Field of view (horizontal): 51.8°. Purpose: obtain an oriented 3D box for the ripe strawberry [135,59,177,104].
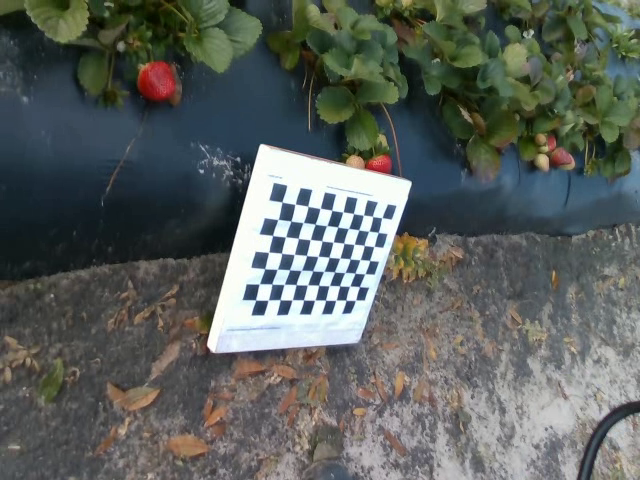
[{"bbox_3d":[-0.189,-0.185,0.782,0.050,0.049,0.053,-5,42,-46],"label":"ripe strawberry"}]
